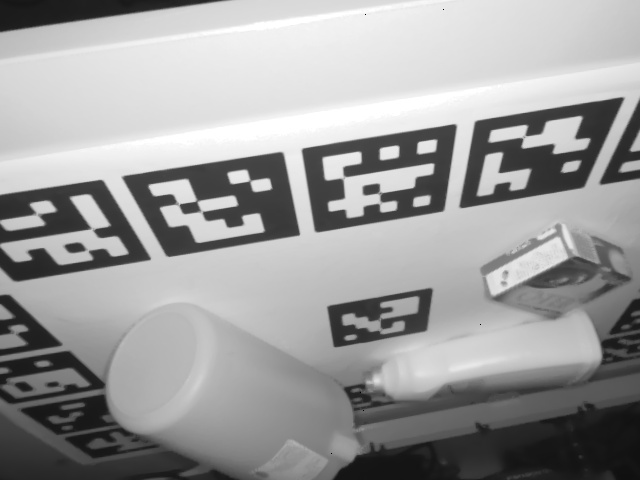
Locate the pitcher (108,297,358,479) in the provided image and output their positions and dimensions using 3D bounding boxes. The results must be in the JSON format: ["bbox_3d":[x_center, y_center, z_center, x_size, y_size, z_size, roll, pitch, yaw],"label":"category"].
[{"bbox_3d":[-0.087,0.152,0.669,0.186,0.134,0.243,7,152,40],"label":"pitcher"}]

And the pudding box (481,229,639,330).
[{"bbox_3d":[0.218,0.039,0.631,0.115,0.039,0.088,22,139,-34],"label":"pudding box"}]

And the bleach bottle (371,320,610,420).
[{"bbox_3d":[0.181,0.156,0.765,0.250,0.068,0.102,-11,139,4],"label":"bleach bottle"}]
